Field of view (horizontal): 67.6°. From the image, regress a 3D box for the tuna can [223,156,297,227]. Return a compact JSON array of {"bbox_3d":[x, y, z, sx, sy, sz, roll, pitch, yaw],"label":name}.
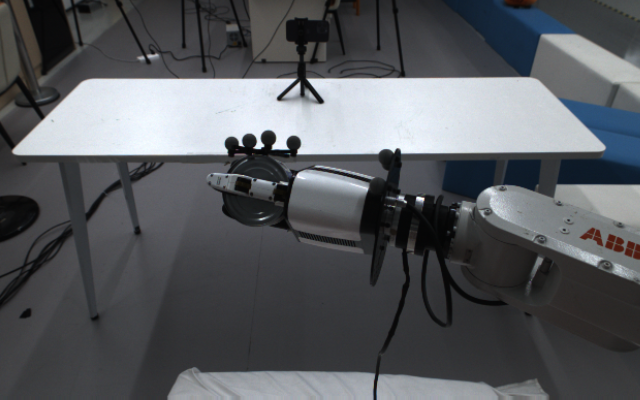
[{"bbox_3d":[-0.071,-0.010,0.585,0.085,0.085,0.034,12,-1,14],"label":"tuna can"}]
